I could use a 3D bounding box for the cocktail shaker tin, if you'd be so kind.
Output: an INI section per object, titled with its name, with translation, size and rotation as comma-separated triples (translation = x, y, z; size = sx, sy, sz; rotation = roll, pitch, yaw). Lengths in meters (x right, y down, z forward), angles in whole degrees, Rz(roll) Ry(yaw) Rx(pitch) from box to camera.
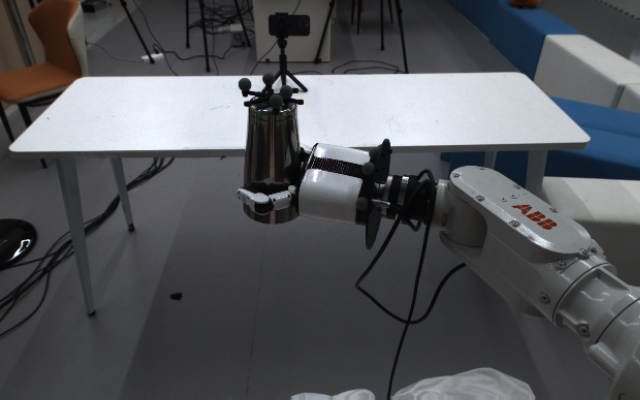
[cocktail shaker tin]
translation = -0.068, -0.061, 0.696
size = 0.093, 0.170, 0.093
rotation = 2, 34, -2
